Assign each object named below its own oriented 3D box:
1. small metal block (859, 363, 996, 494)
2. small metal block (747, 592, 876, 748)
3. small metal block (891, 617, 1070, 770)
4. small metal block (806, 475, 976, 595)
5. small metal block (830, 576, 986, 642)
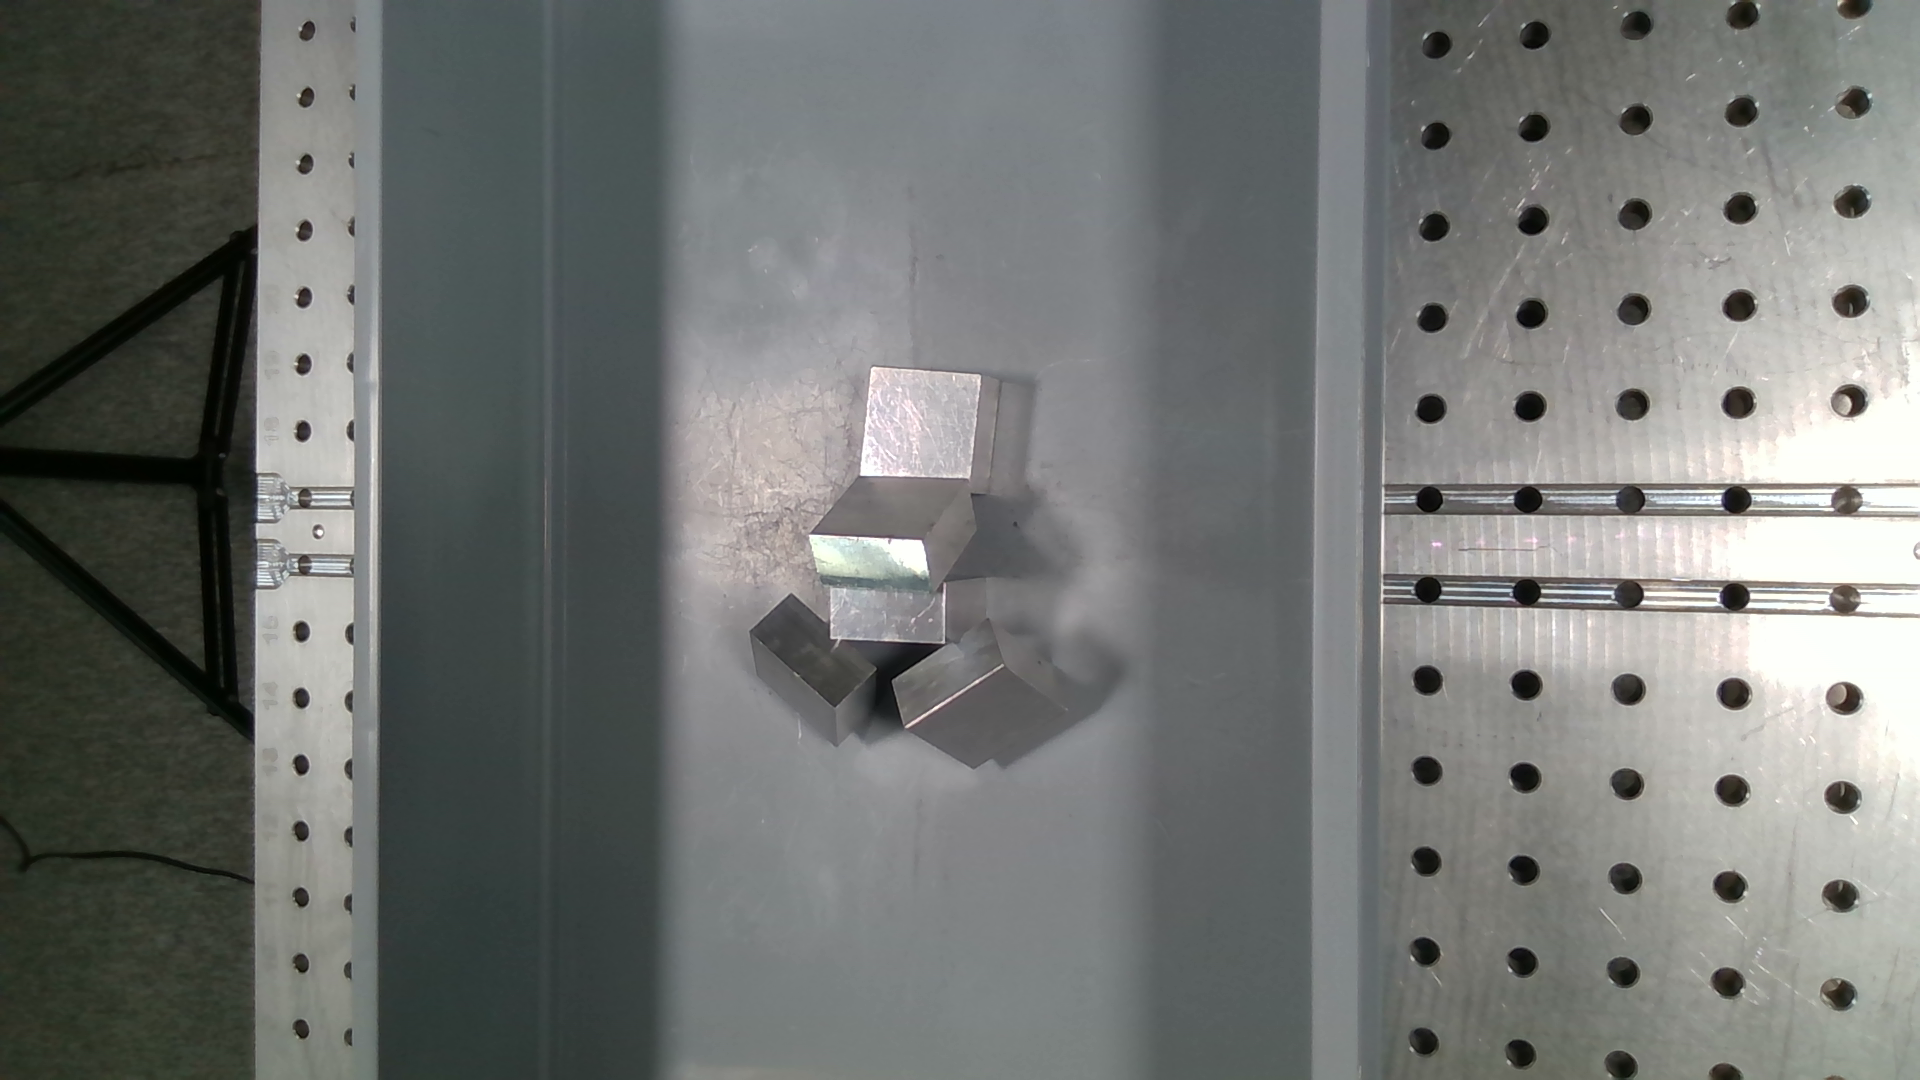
[{"bbox_3d":[-0.013,-0.047,0.588,0.050,0.025,0.050,7,93,20],"label":"small metal block"},{"bbox_3d":[-0.063,0.057,0.592,0.050,0.050,0.025,40,68,15],"label":"small metal block"},{"bbox_3d":[0.009,0.064,0.566,0.050,0.050,0.025,-34,47,17],"label":"small metal block"},{"bbox_3d":[-0.027,-0.003,0.562,0.050,0.050,0.025,3,123,23],"label":"small metal block"},{"bbox_3d":[-0.021,0.028,0.579,0.050,0.050,0.025,1,91,20],"label":"small metal block"}]
